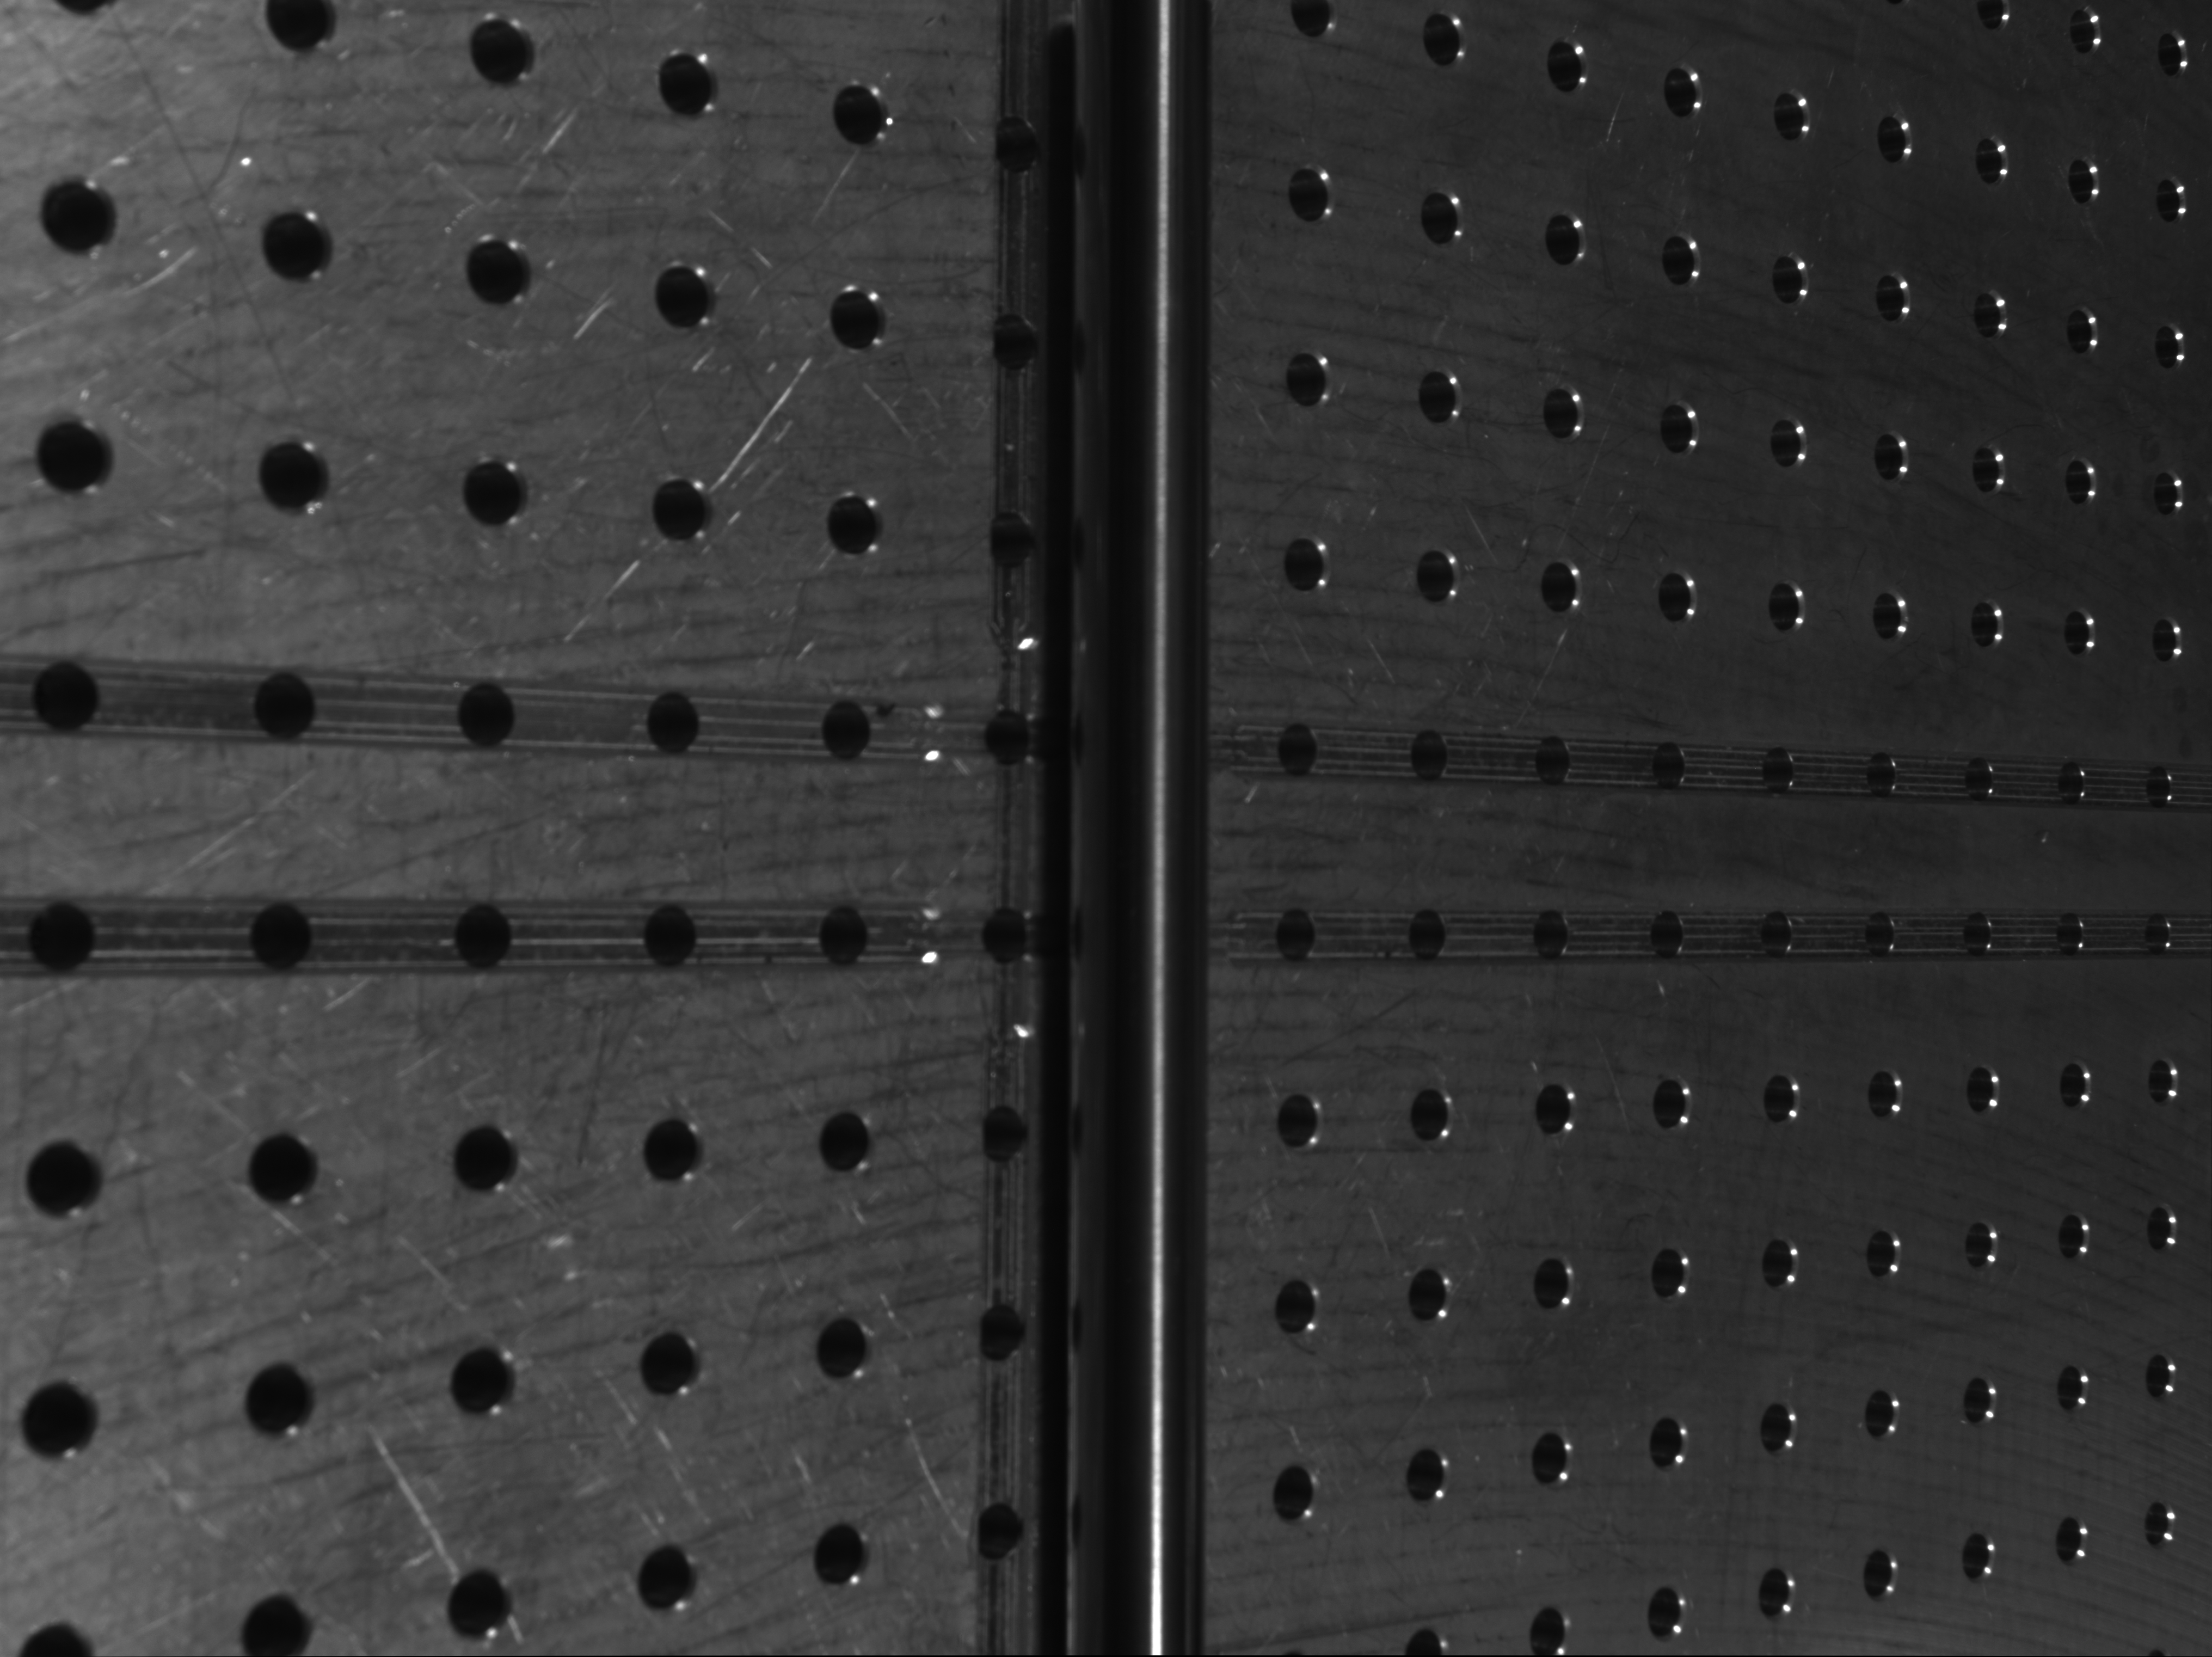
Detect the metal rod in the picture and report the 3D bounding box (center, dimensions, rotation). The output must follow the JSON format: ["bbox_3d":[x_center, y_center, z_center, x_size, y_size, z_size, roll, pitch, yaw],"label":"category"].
[{"bbox_3d":[0.010,0.004,0.648,0.025,0.025,0.300,1,90,-40],"label":"metal rod"}]
